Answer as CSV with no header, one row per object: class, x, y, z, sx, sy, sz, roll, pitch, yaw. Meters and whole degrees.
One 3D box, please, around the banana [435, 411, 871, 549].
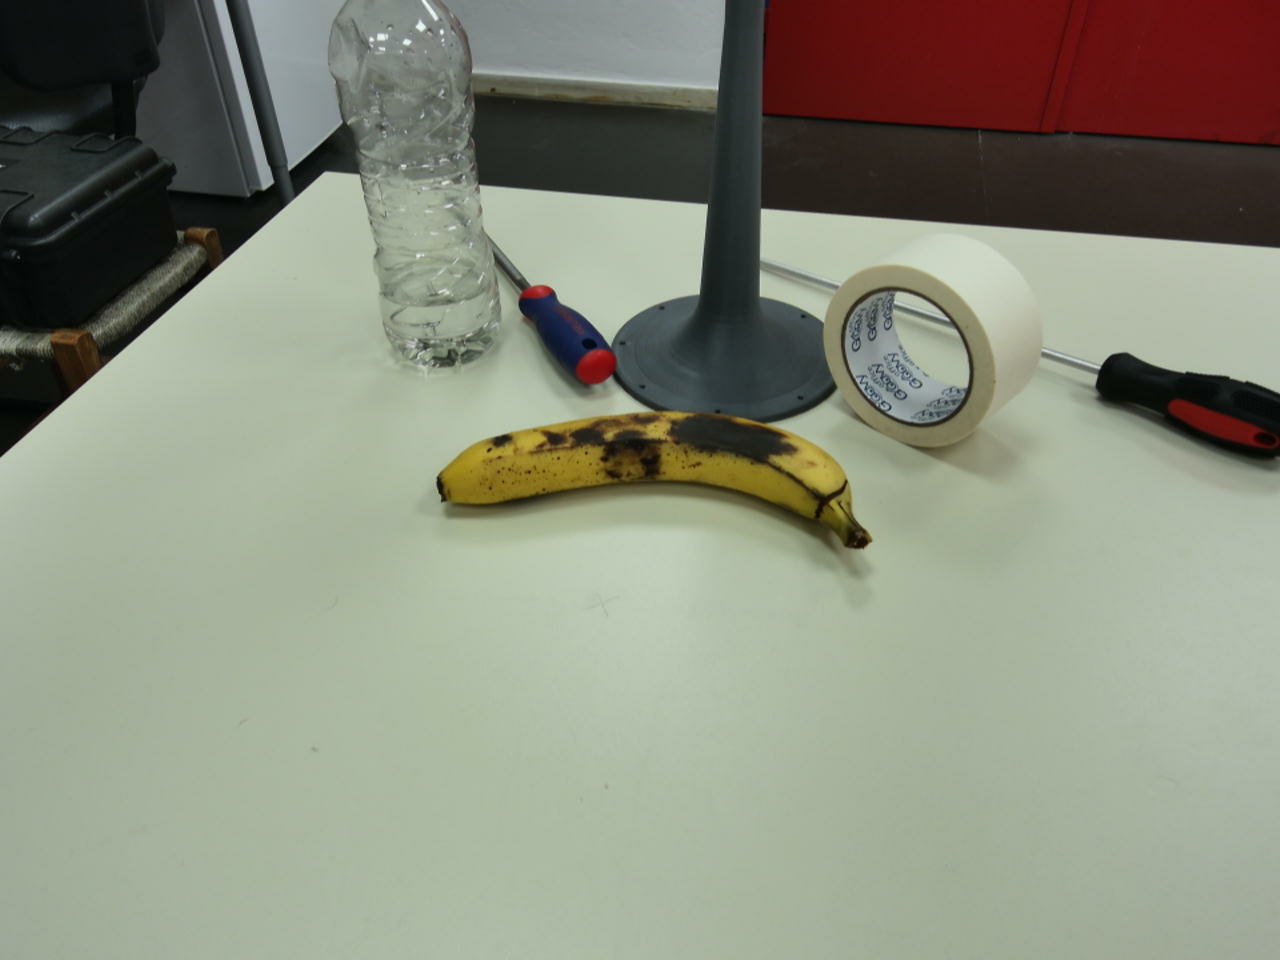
banana,0.010,-0.007,0.525,0.222,0.037,0.084,8,40,10
